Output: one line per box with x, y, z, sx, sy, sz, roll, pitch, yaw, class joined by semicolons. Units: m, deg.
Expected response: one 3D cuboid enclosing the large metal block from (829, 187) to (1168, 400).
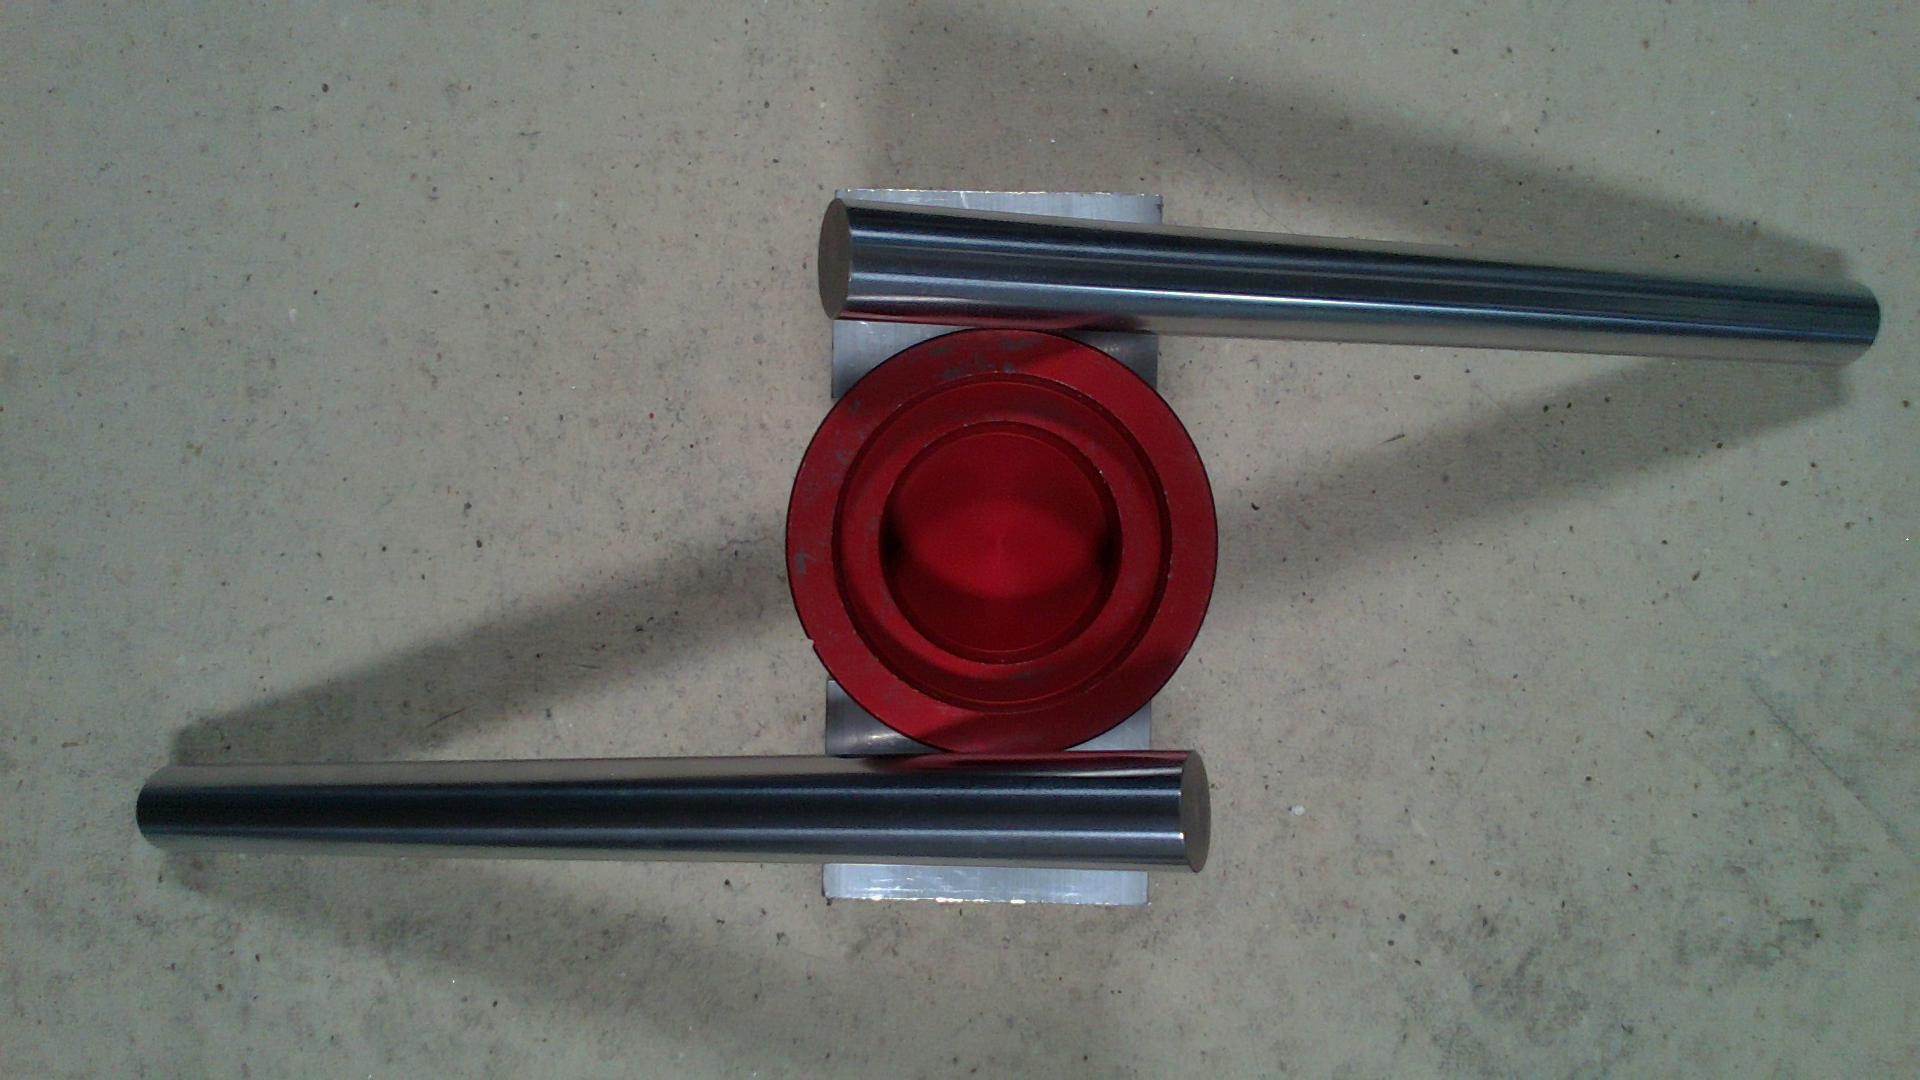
0.009;-0.059;0.368;0.080;0.080;0.050;1;90;0;large metal block

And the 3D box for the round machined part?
0.010;0.001;0.328;0.098;0.042;0.098;0;90;0;round machined part

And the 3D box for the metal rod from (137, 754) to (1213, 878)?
-0.089;0.066;0.340;0.299;0.025;0.025;-4;90;23;metal rod

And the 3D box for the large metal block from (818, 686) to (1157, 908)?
0.007;0.062;0.368;0.080;0.080;0.050;1;90;0;large metal block

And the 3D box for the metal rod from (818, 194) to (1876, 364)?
0.113;-0.061;0.342;0.301;0.025;0.025;-1;90;-22;metal rod
